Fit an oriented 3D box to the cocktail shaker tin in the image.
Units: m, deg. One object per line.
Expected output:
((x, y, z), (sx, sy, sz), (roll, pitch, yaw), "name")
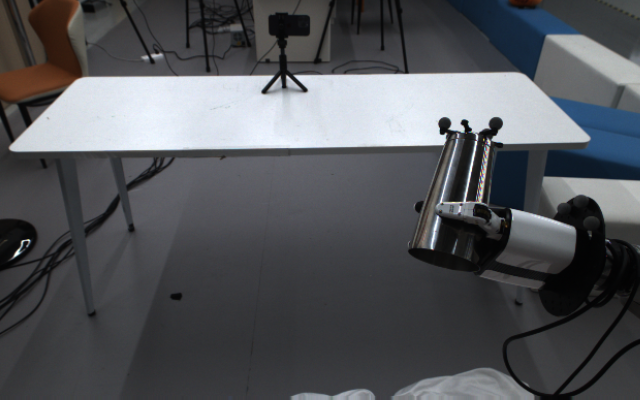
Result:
((0.183, 0.000, 0.644), (0.093, 0.093, 0.170), (13, 74, 15), "cocktail shaker tin")
